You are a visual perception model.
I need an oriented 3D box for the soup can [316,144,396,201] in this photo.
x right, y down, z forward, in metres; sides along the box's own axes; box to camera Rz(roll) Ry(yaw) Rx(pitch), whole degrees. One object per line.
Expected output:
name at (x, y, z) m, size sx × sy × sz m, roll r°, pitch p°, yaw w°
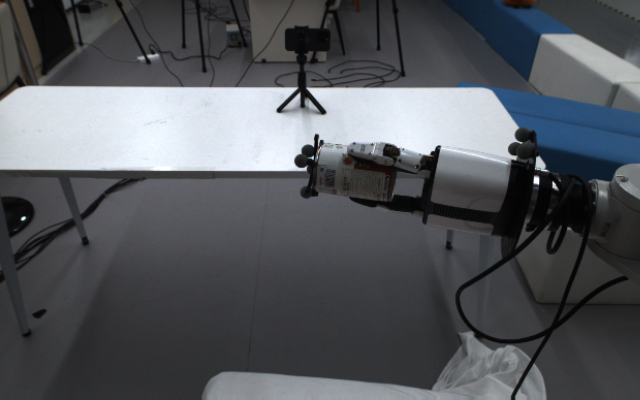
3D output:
soup can at (0.050, -0.037, 0.630) m, size 0.101 × 0.067 × 0.067 m, roll 8°, pitch 35°, yaw 9°
